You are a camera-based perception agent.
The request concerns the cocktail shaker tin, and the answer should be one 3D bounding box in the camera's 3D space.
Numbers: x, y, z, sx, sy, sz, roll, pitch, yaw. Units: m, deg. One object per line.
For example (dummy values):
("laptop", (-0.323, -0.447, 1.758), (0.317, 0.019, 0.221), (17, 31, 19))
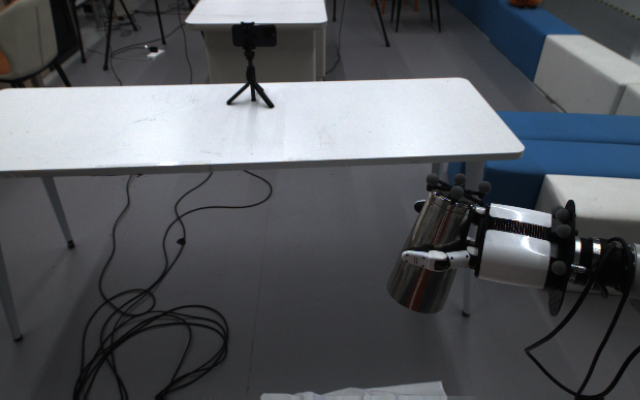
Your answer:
("cocktail shaker tin", (0.168, 0.065, 0.705), (0.093, 0.170, 0.093), (11, 24, -5))
